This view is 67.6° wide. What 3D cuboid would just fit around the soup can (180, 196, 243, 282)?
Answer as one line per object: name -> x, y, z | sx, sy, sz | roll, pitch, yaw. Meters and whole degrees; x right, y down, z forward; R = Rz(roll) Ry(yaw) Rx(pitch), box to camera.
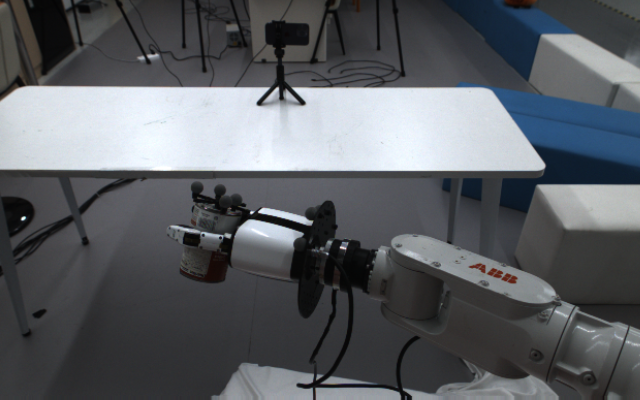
soup can -> -0.152, 0.058, 0.678 | 0.067, 0.101, 0.067 | 16, 7, -2
